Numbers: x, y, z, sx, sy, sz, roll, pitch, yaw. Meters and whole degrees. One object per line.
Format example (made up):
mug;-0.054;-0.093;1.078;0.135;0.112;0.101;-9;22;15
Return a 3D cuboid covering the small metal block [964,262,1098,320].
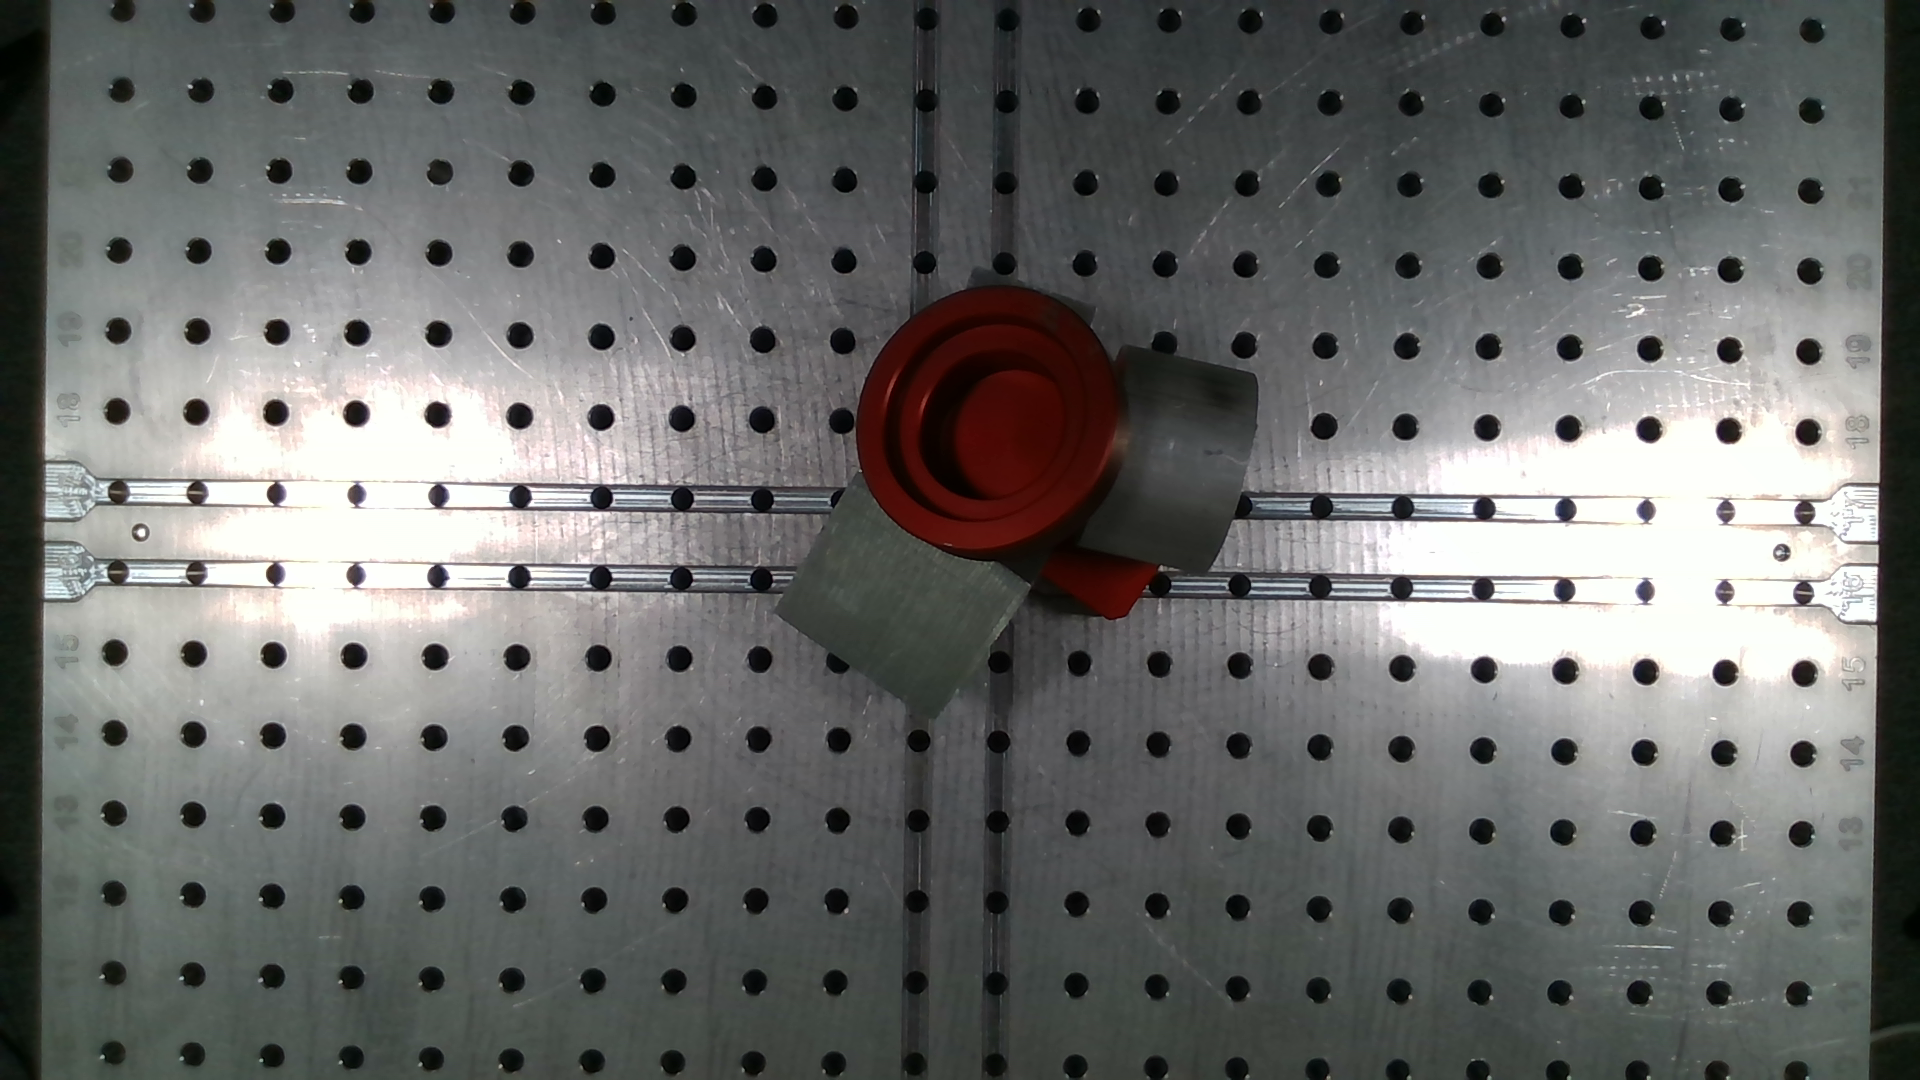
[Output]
small metal block;0.024;-0.085;0.545;0.050;0.050;0.025;19;90;0

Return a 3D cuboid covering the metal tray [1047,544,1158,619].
metal tray;0.038;-0.038;0.587;0.130;0.030;0.090;34;90;0

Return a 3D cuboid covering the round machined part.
round machined part;0.015;-0.040;0.506;0.098;0.042;0.098;-4;78;19

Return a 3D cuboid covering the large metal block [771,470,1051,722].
large metal block;-0.017;0.012;0.559;0.080;0.050;0.080;34;121;0

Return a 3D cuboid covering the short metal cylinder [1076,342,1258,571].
short metal cylinder;0.078;-0.031;0.531;0.050;0.080;0.080;13;90;0
